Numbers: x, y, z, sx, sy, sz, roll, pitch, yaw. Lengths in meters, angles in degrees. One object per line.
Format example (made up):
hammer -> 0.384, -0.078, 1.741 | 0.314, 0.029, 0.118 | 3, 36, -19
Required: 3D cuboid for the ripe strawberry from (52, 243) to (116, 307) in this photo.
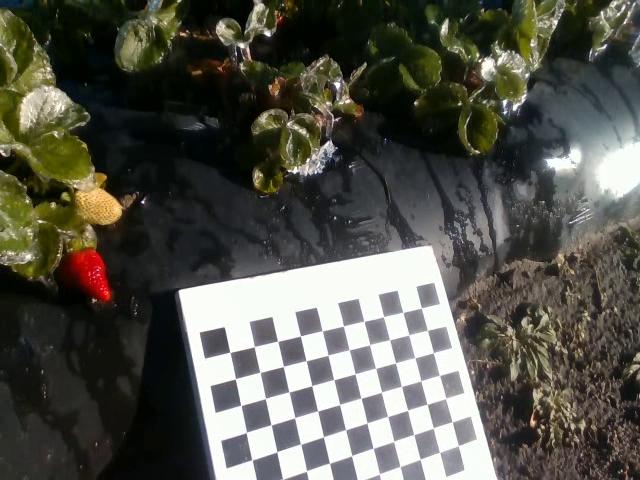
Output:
ripe strawberry -> -0.194, 0.030, 0.525 | 0.041, 0.052, 0.040 | -28, -10, -30
